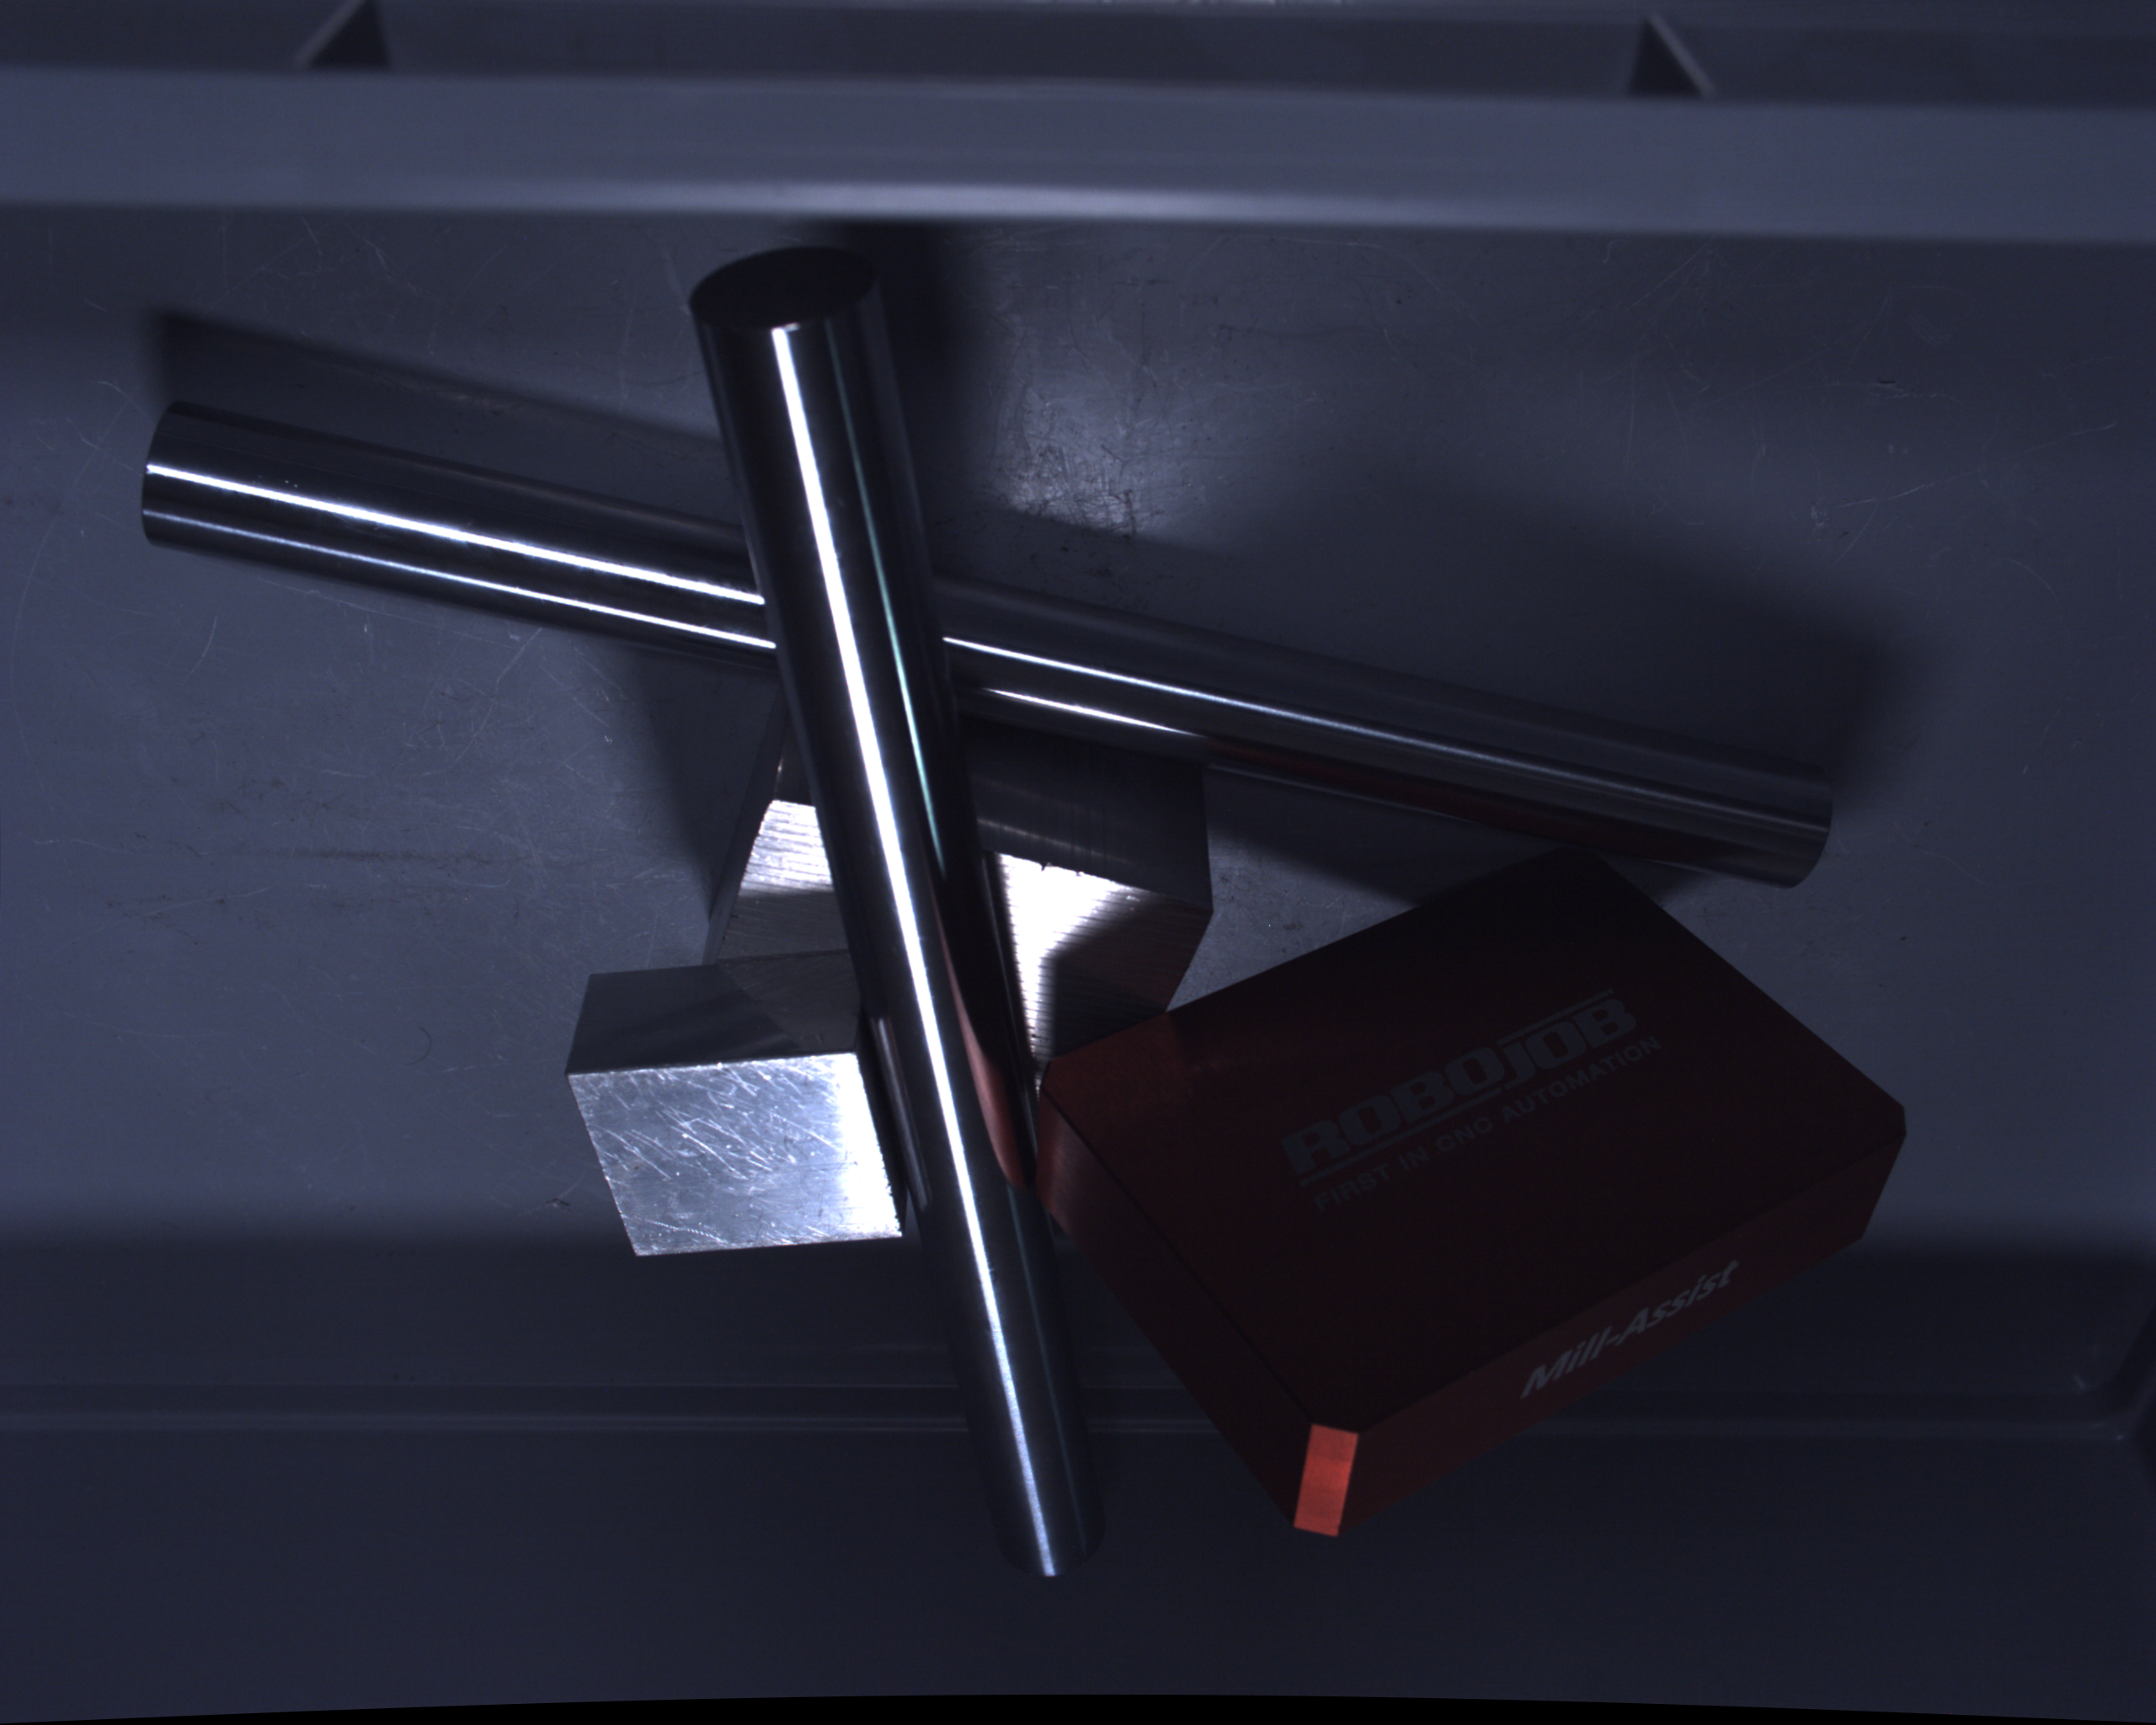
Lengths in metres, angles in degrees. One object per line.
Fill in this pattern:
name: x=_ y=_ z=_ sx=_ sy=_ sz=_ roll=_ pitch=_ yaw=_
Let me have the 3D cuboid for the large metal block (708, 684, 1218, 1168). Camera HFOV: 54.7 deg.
large metal block: x=-0.027 y=0.011 z=0.400 sx=0.081 sy=0.050 sz=0.079 roll=14 pitch=129 yaw=-12

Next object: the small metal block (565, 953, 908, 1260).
small metal block: x=-0.060 y=0.045 z=0.379 sx=0.050 sy=0.025 sz=0.050 roll=-5 pitch=130 yaw=3

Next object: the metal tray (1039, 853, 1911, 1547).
metal tray: x=0.070 y=0.054 z=0.376 sx=0.131 sy=0.090 sz=0.030 roll=-21 pitch=136 yaw=-25

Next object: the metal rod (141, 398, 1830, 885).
metal rod: x=-0.007 y=-0.037 z=0.377 sx=0.302 sy=0.025 sz=0.025 roll=11 pitch=129 yaw=-10

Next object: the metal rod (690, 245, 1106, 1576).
metal rod: x=-0.023 y=0.036 z=0.372 sx=0.025 sy=0.025 sz=0.298 roll=-5 pitch=130 yaw=4
